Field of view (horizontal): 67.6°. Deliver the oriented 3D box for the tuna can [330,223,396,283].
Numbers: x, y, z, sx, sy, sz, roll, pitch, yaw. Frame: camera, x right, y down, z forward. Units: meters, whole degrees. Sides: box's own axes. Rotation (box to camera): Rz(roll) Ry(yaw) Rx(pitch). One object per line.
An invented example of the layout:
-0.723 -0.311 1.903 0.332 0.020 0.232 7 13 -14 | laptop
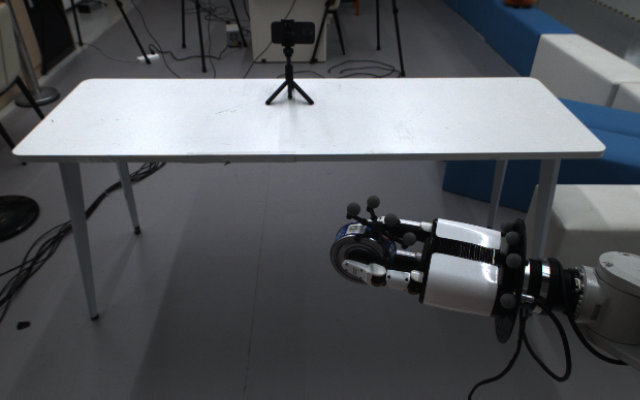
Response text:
0.061 0.079 0.647 0.085 0.085 0.034 12 35 14 | tuna can
